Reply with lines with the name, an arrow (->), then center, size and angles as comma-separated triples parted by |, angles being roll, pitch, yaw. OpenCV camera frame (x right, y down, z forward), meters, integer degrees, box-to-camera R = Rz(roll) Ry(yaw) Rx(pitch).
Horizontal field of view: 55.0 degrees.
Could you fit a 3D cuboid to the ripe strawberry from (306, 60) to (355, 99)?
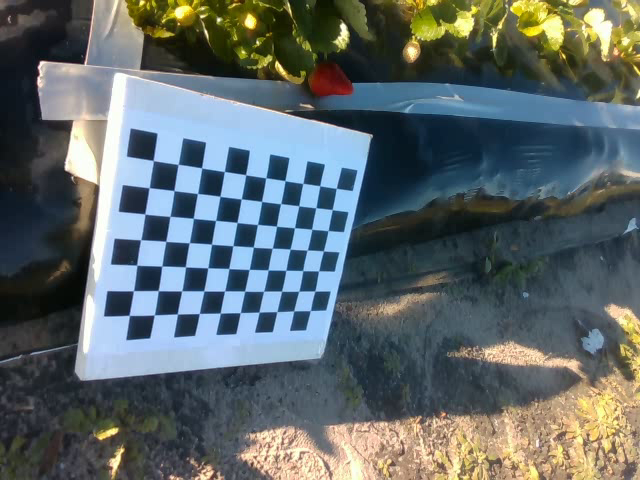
ripe strawberry -> 0.012, -0.177, 0.677 | 0.063, 0.045, 0.048 | 30, -5, 21
